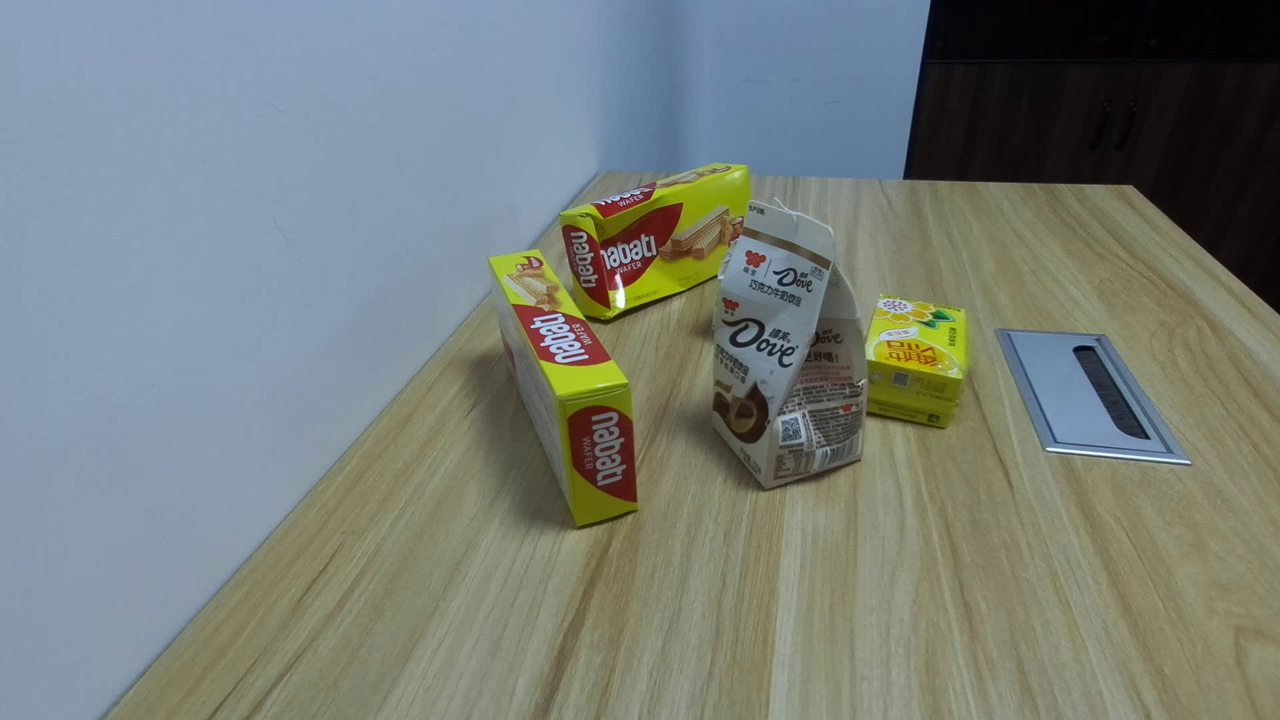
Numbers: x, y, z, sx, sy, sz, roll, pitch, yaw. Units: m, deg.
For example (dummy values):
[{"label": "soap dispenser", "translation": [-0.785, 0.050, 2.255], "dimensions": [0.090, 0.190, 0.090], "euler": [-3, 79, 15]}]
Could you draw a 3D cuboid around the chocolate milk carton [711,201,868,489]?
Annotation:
[{"label": "chocolate milk carton", "translation": [0.091, -0.012, 0.415], "dimensions": [0.073, 0.155, 0.084], "euler": [-14, 33, -17]}]

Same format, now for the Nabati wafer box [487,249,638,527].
[{"label": "Nabati wafer box", "translation": [-0.054, 0.007, 0.464], "dimensions": [0.042, 0.093, 0.202], "euler": [-13, 32, -16]}]

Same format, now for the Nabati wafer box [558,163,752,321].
[{"label": "Nabati wafer box", "translation": [0.025, -0.113, 0.652], "dimensions": [0.204, 0.096, 0.042], "euler": [-26, 32, -35]}]

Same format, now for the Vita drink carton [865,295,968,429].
[{"label": "Vita drink carton", "translation": [0.197, -0.001, 0.503], "dimensions": [0.076, 0.043, 0.109], "euler": [13, 32, 18]}]
